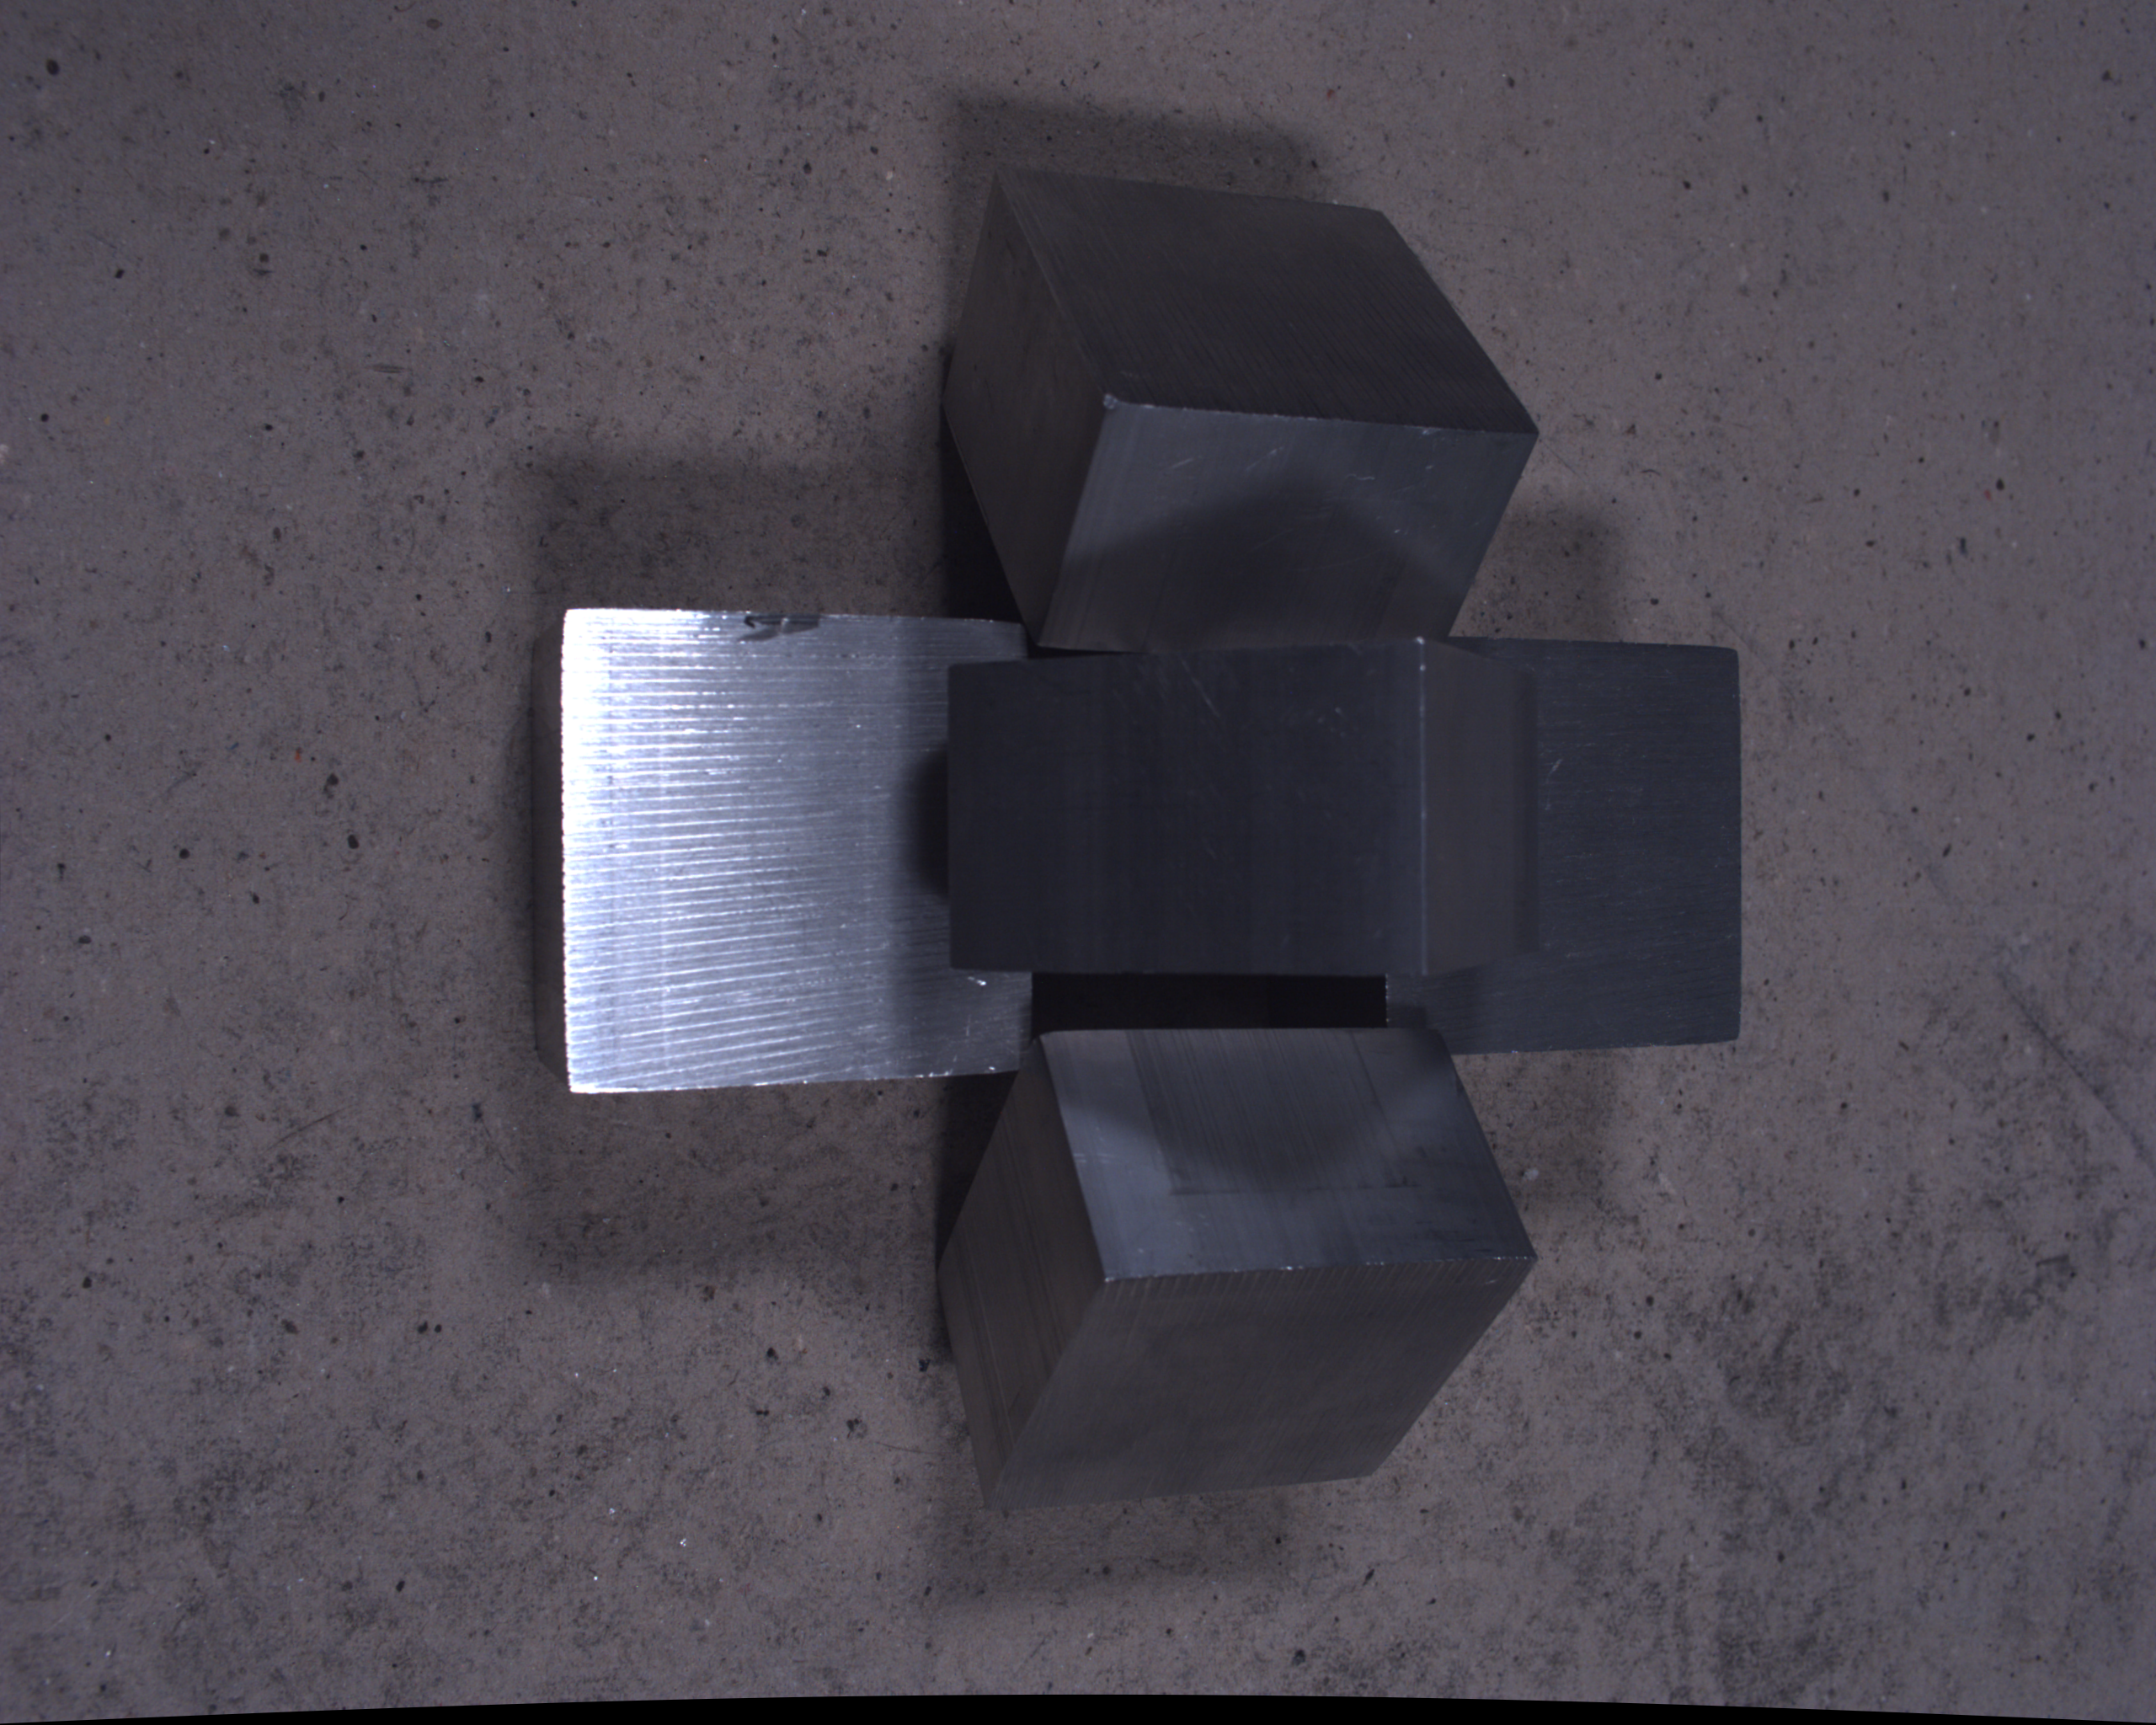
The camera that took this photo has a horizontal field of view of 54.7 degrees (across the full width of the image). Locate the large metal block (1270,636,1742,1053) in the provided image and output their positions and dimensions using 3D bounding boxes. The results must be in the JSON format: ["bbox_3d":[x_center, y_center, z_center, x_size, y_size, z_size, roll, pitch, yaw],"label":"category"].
[{"bbox_3d":[0.087,-0.004,0.427,0.081,0.050,0.079,0,90,-21],"label":"large metal block"}]

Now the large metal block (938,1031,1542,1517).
[{"bbox_3d":[0.026,0.076,0.385,0.081,0.079,0.050,1,47,-19],"label":"large metal block"}]

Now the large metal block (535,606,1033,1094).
[{"bbox_3d":[-0.055,-0.003,0.377,0.081,0.050,0.079,-1,90,-21],"label":"large metal block"}]

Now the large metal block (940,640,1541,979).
[{"bbox_3d":[0.031,-0.008,0.358,0.080,0.080,0.050,0,91,24],"label":"large metal block"}]

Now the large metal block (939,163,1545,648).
[{"bbox_3d":[0.026,-0.083,0.385,0.081,0.080,0.050,0,134,-20],"label":"large metal block"}]
